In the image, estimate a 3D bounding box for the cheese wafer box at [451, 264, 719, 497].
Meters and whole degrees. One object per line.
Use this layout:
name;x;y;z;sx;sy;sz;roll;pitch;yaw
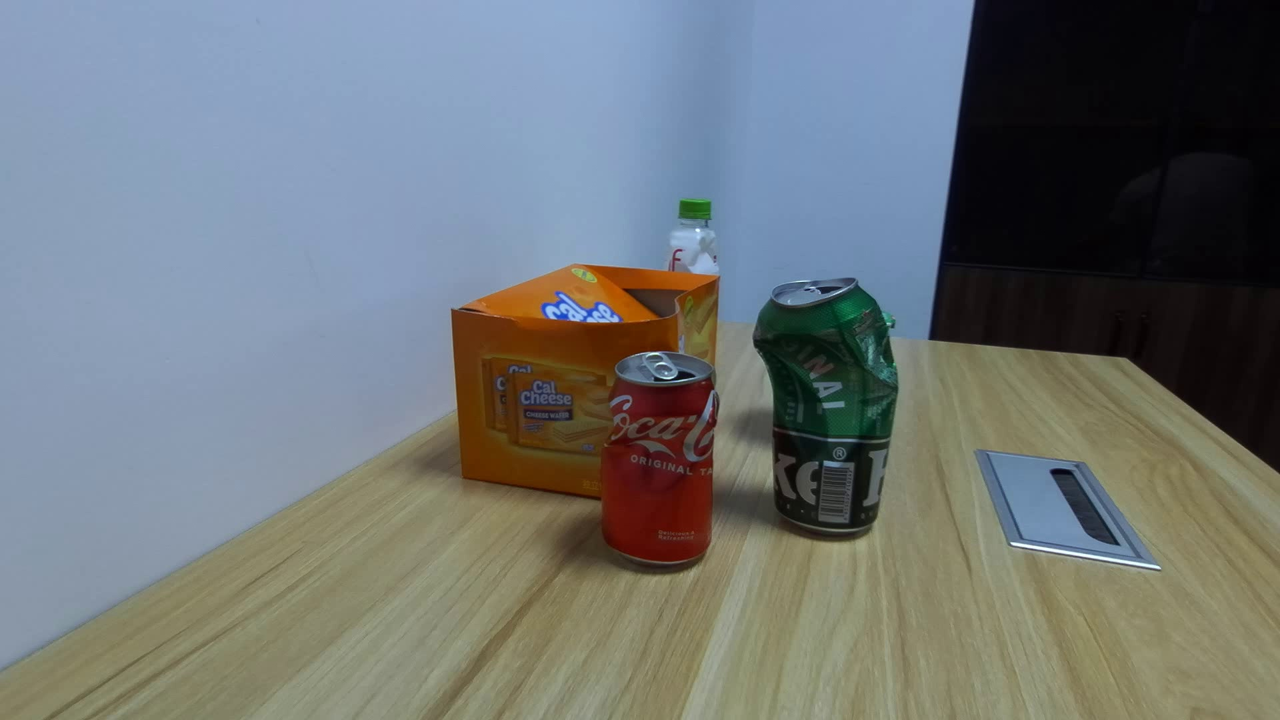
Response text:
cheese wafer box;-0.027;0.007;0.568;0.152;0.132;0.231;8;16;15

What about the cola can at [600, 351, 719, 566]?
cola can;0.011;0.055;0.408;0.066;0.117;0.066;4;17;8

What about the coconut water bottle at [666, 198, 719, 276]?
coconut water bottle;0.048;-0.065;0.702;0.069;0.186;0.069;5;14;-1

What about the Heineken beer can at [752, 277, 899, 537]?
Heineken beer can;0.120;0.029;0.448;0.079;0.159;0.067;-7;14;-6
